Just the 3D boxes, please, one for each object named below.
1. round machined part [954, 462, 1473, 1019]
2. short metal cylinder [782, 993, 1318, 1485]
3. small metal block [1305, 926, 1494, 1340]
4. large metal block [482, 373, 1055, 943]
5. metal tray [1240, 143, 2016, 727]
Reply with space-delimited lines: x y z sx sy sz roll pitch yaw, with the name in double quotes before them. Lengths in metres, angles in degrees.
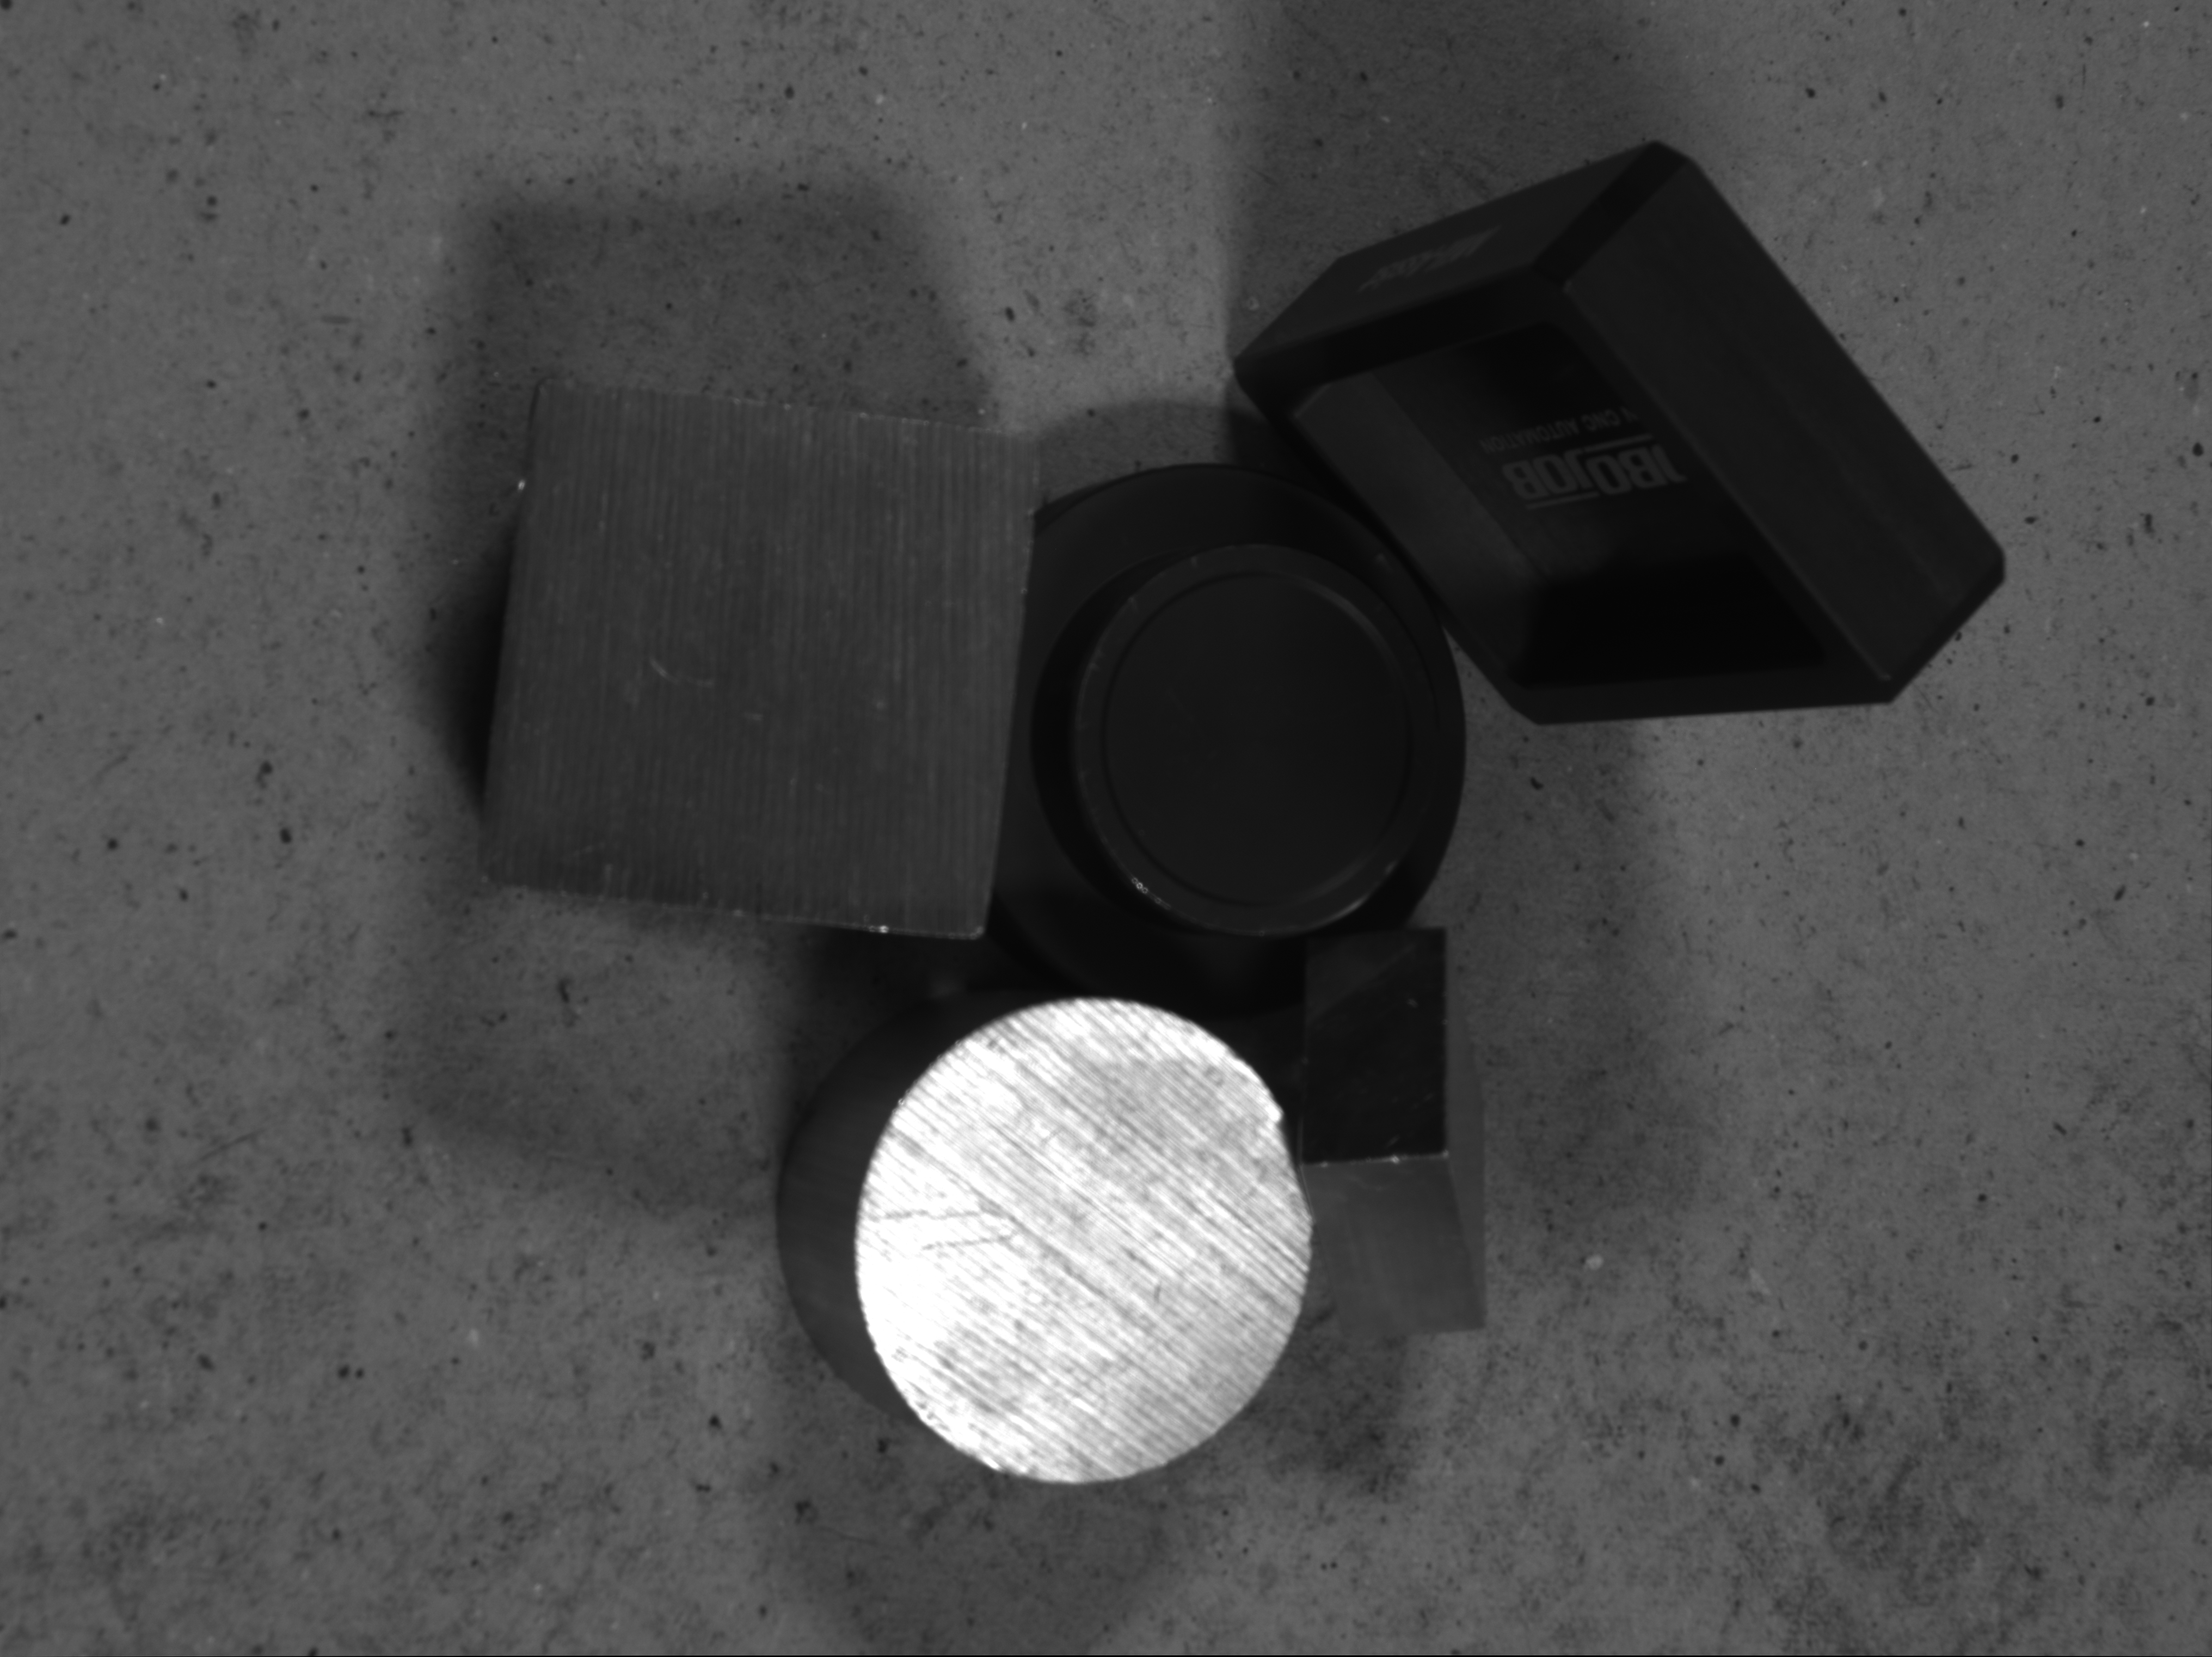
"round machined part" 0.020 -0.015 0.643 0.098 0.042 0.098 0 90 -20
"short metal cylinder" -0.010 0.068 0.627 0.080 0.050 0.080 0 90 -20
"small metal block" 0.052 0.053 0.637 0.025 0.050 0.050 -5 136 11
"large metal block" -0.054 -0.026 0.597 0.080 0.050 0.080 7 88 -3
"metal tray" 0.083 -0.061 0.617 0.030 0.130 0.090 -46 104 -14
